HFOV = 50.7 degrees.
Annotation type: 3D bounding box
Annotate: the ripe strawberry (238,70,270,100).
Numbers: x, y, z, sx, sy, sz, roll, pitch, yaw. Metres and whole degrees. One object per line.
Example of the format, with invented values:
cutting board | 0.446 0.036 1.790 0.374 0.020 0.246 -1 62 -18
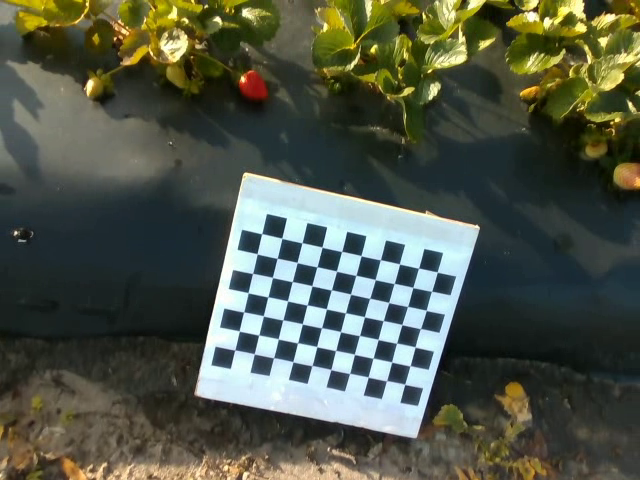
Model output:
ripe strawberry | -0.073 -0.168 0.728 0.045 0.030 0.033 47 9 18
